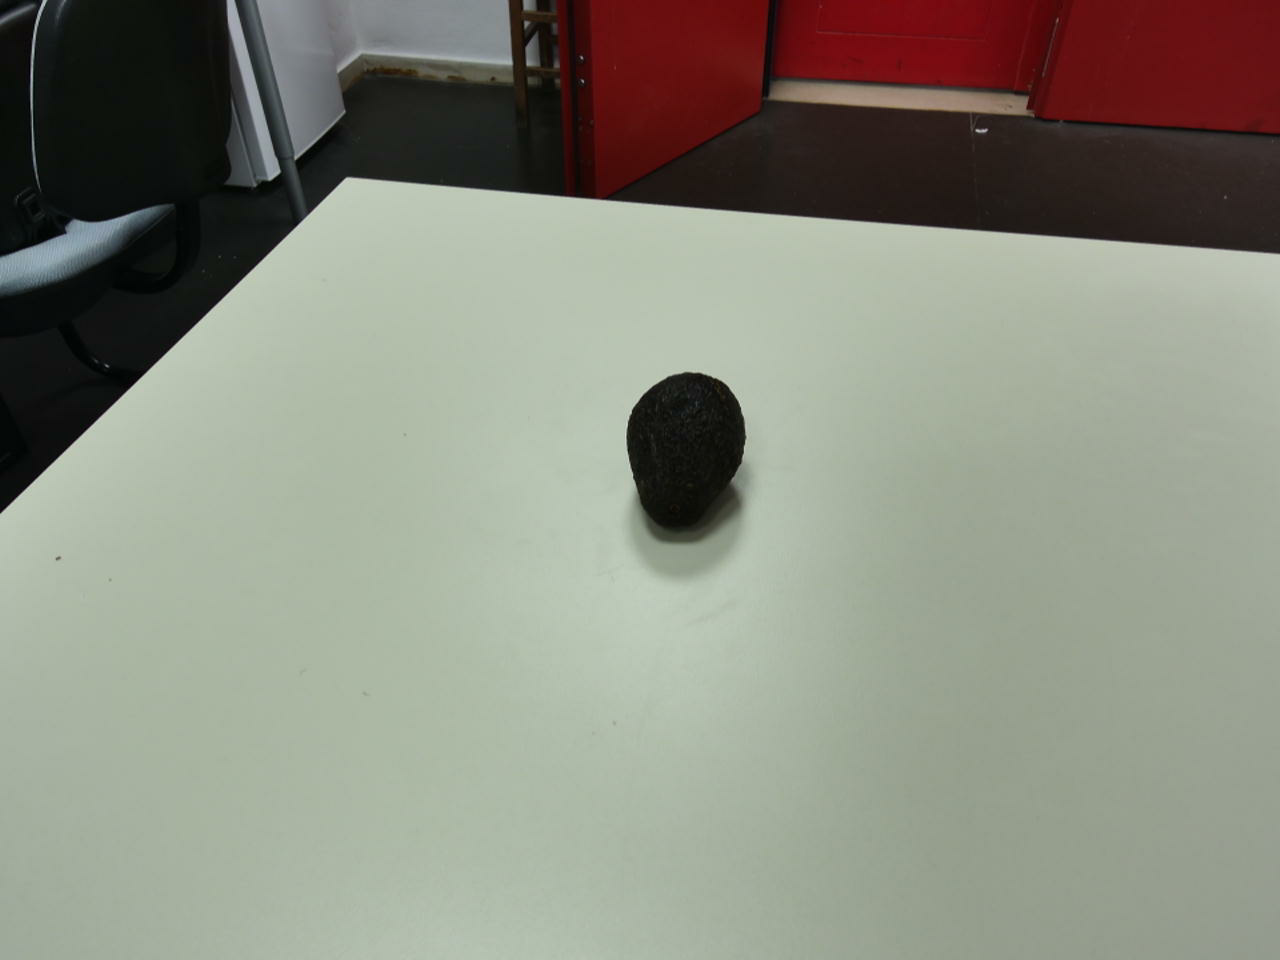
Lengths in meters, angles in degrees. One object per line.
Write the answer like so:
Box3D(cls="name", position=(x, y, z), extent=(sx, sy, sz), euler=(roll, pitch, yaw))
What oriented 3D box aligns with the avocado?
Box3D(cls="avocado", position=(0.024, -0.022, 0.582), extent=(0.070, 0.069, 0.090), euler=(26, 46, 29))
